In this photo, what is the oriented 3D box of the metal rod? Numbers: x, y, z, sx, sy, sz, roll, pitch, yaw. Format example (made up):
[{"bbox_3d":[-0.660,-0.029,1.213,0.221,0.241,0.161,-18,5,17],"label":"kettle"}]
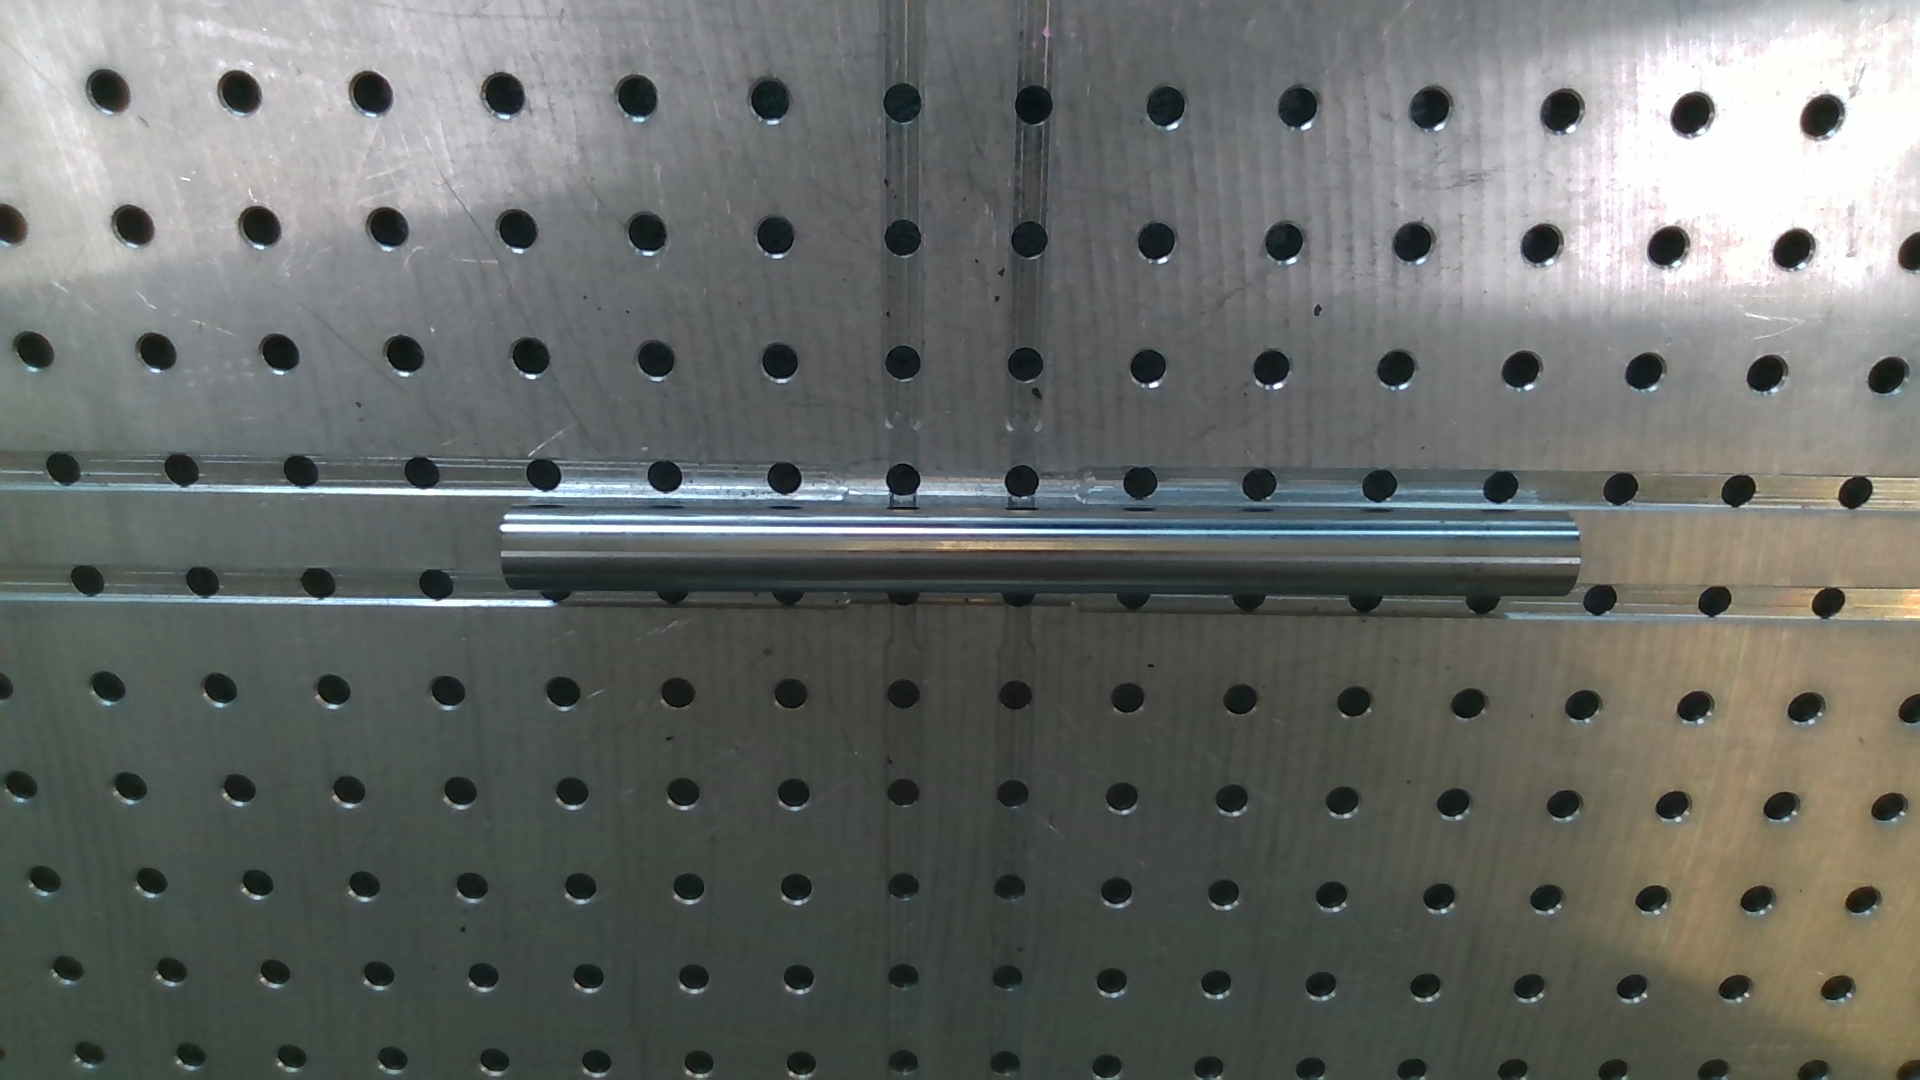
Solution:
[{"bbox_3d":[0.022,0.002,0.396,0.300,0.025,0.025,0,110,0],"label":"metal rod"}]
